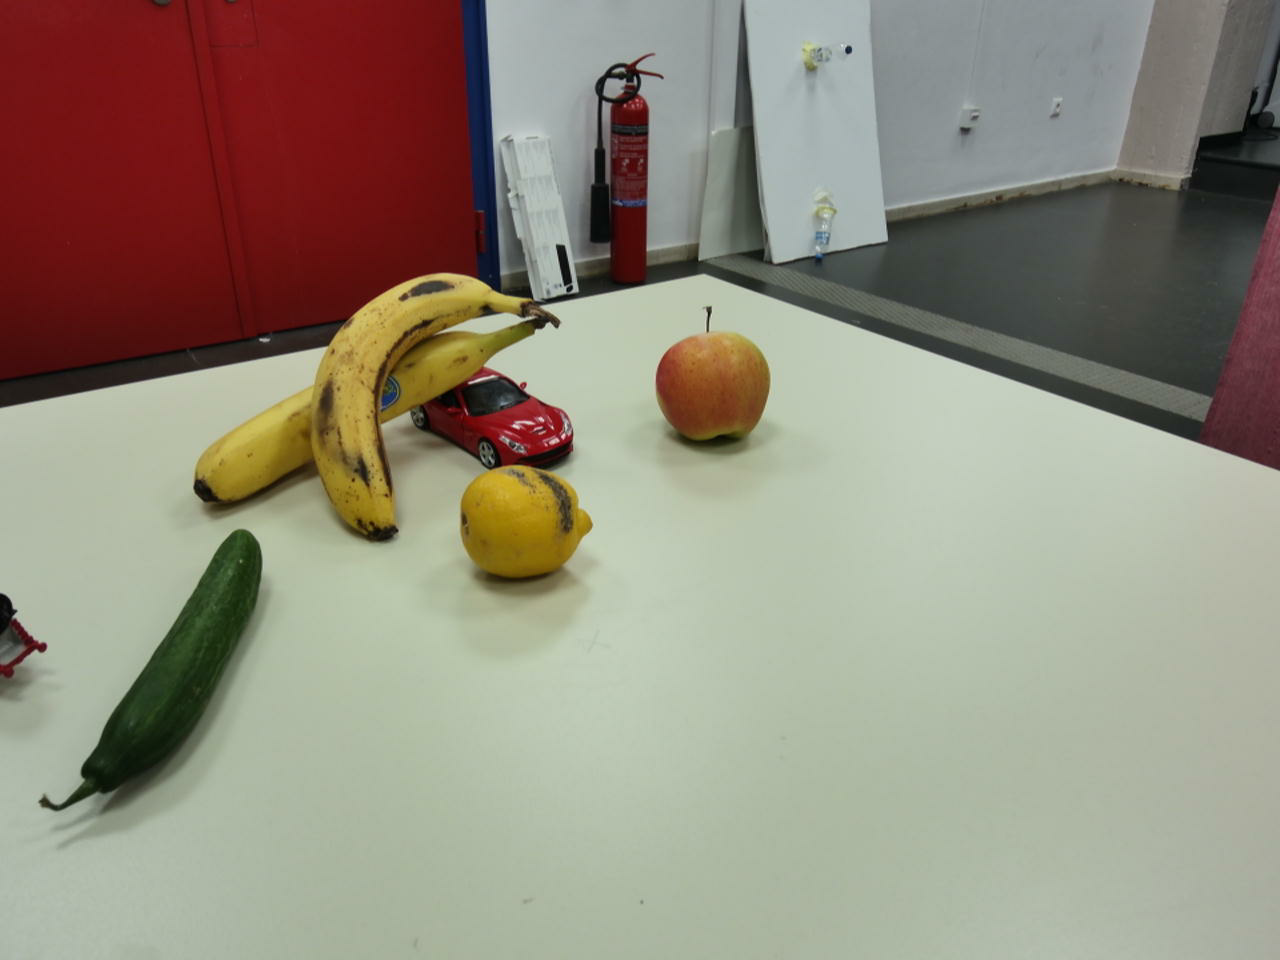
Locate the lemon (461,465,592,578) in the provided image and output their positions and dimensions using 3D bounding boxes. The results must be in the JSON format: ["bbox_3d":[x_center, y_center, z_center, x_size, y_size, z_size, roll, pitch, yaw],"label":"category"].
[{"bbox_3d":[-0.060,0.020,0.500,0.058,0.056,0.061,23,33,40],"label":"lemon"}]
